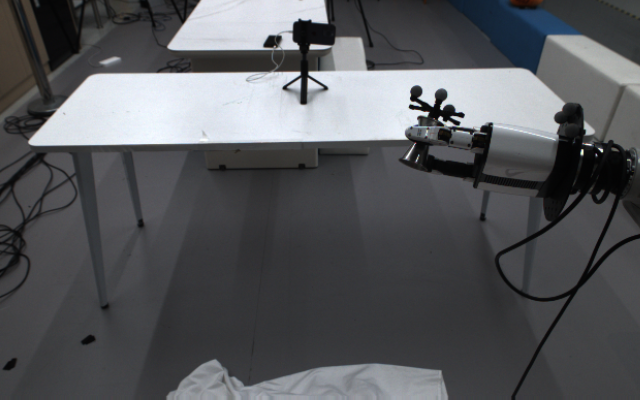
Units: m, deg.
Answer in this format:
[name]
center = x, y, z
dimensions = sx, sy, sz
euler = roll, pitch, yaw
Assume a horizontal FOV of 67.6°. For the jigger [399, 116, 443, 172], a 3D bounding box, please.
[jigger]
center = 0.142, -0.082, 0.686
dimensions = 0.043, 0.071, 0.043
euler = 25, -3, 1
